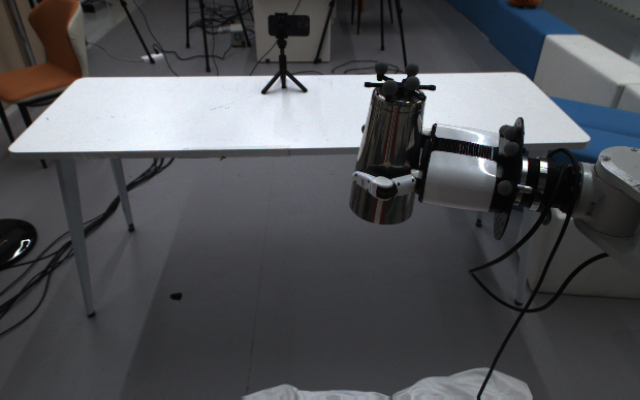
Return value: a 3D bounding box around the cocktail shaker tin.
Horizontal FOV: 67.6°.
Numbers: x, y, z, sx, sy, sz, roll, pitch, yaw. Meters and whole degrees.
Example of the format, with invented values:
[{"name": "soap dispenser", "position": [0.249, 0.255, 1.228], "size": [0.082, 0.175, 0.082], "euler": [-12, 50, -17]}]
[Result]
[{"name": "cocktail shaker tin", "position": [0.094, -0.065, 0.646], "size": [0.093, 0.170, 0.093], "euler": [3, 34, -2]}]
